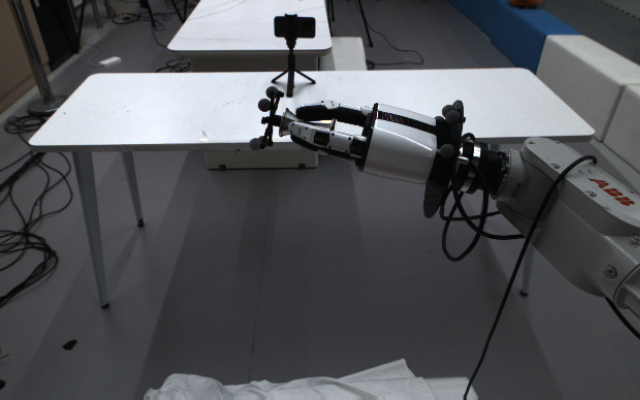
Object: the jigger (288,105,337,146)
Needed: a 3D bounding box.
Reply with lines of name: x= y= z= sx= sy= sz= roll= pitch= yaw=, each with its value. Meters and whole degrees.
jigger: x=-0.011 y=-0.099 z=0.654 sx=0.071 sy=0.043 sz=0.043 roll=14 pitch=36 yaw=4
